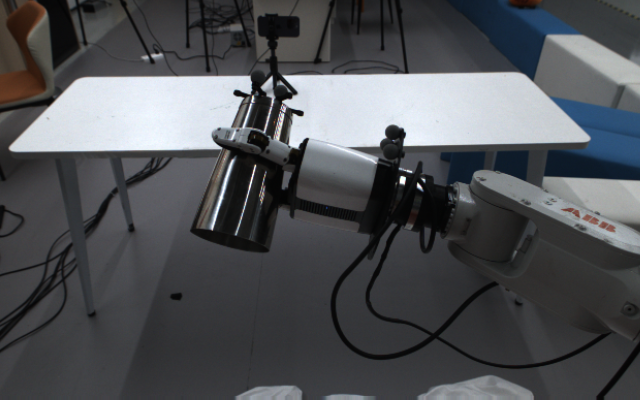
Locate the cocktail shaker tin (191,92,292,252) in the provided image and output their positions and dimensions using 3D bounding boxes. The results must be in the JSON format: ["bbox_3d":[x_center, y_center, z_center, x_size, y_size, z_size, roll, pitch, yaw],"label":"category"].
[{"bbox_3d":[-0.084,-0.031,0.569,0.093,0.093,0.170,11,73,12],"label":"cocktail shaker tin"}]
